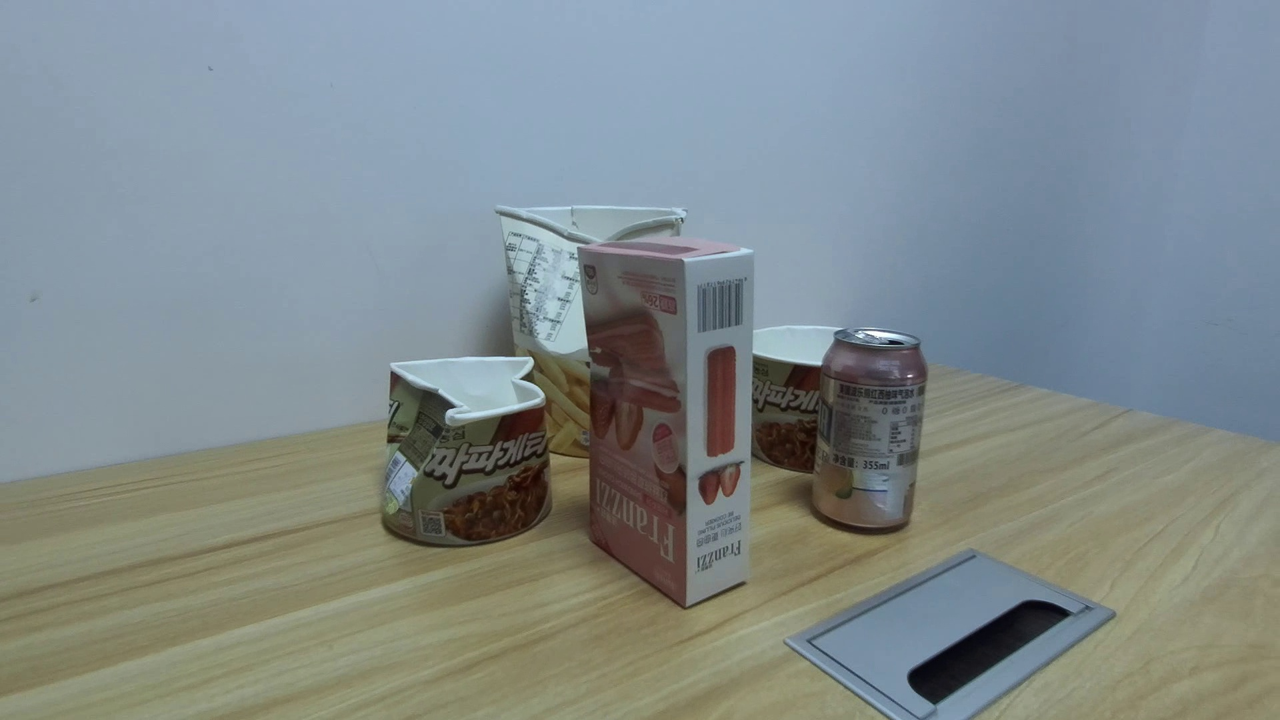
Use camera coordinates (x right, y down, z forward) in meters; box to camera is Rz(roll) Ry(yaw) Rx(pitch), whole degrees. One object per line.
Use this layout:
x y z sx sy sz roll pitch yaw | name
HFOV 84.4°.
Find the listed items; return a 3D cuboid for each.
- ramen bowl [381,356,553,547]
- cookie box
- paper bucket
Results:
-0.114 0.058 0.463 0.112 0.093 0.128 -2 15 -13 | ramen bowl
0.010 0.027 0.394 0.049 0.187 0.104 -11 19 -35 | cookie box
-0.042 -0.033 0.621 0.162 0.202 0.169 0 13 2 | paper bucket
